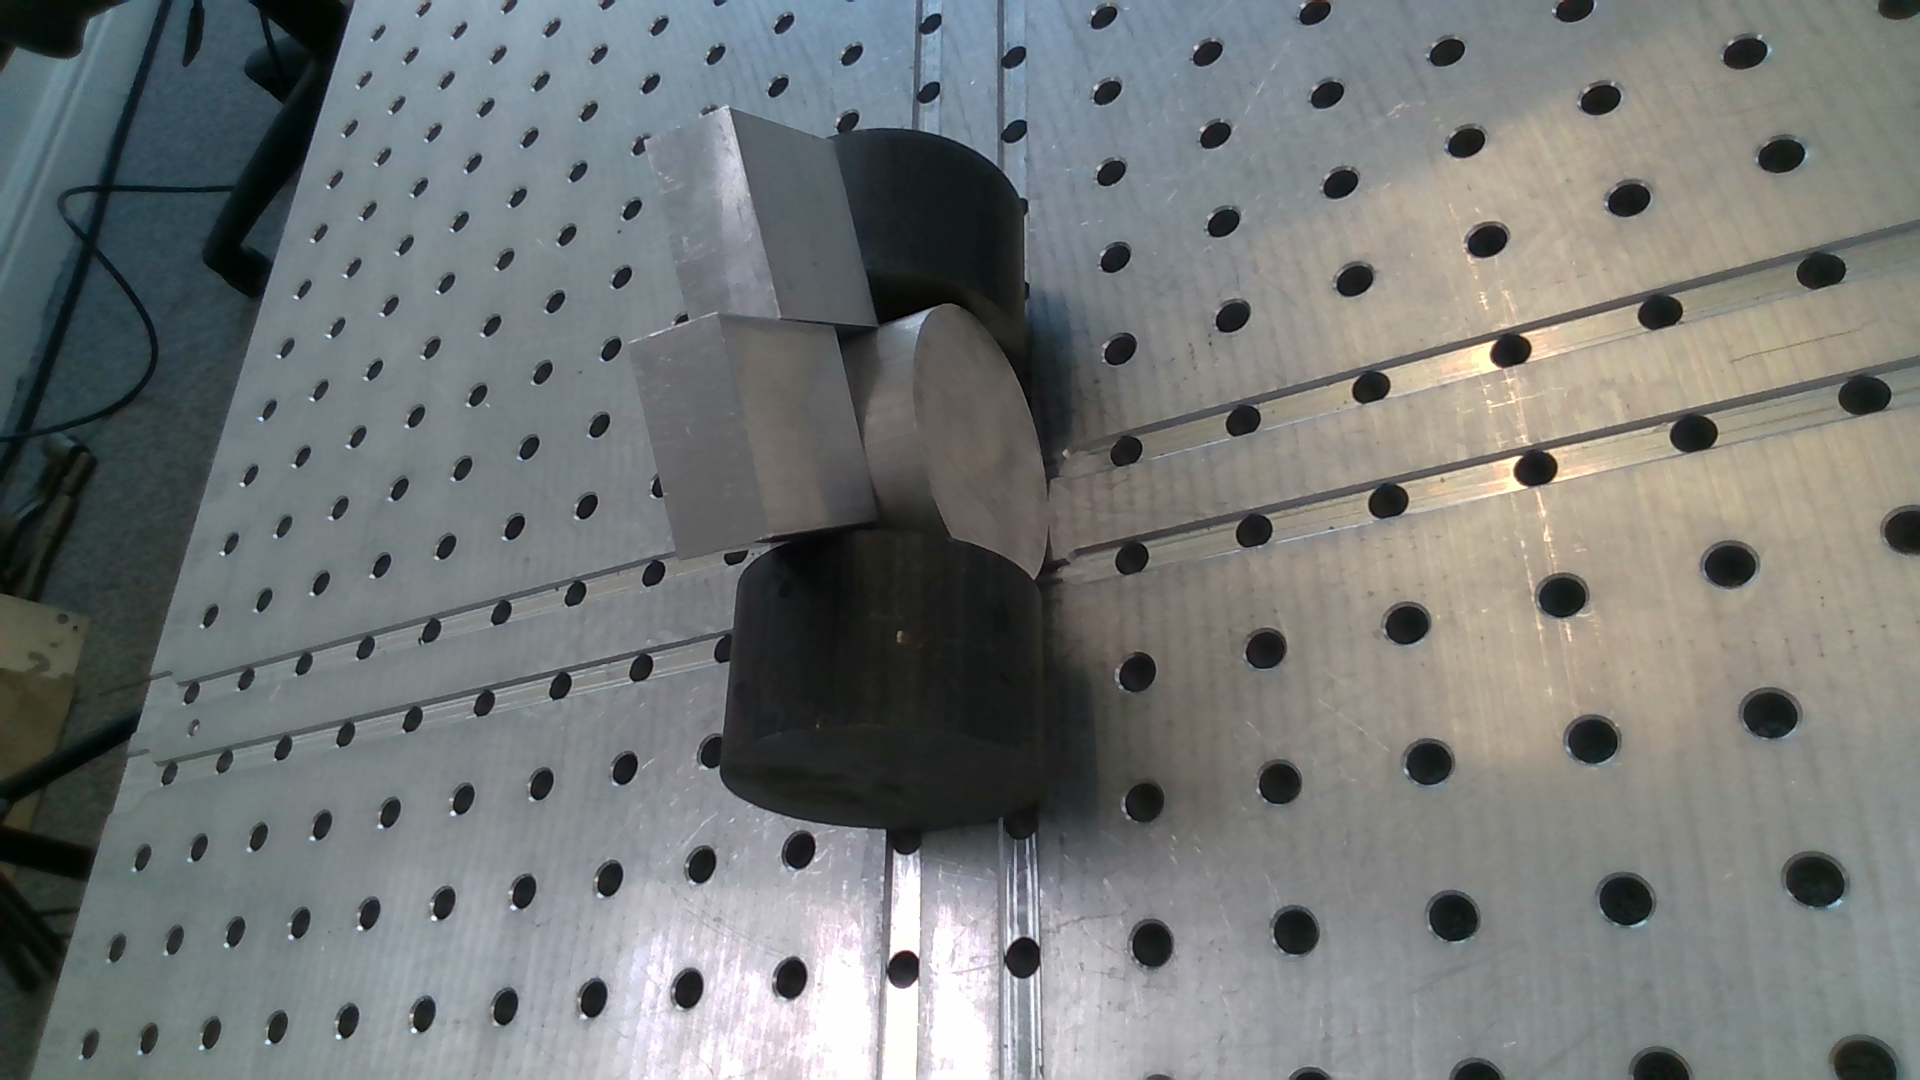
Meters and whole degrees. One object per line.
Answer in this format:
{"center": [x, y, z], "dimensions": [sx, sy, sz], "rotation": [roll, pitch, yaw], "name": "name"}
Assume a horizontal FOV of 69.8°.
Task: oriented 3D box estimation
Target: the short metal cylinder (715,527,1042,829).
{"center": [-0.019, 0.038, 0.351], "dimensions": [0.080, 0.080, 0.050], "rotation": [-14, 58, 25], "name": "short metal cylinder"}

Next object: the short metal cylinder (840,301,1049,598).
{"center": [-0.015, -0.020, 0.380], "dimensions": [0.050, 0.080, 0.080], "rotation": [-13, 59, 25], "name": "short metal cylinder"}

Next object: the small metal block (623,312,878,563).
{"center": [-0.048, -0.024, 0.323], "dimensions": [0.025, 0.050, 0.050], "rotation": [-14, 90, 25], "name": "small metal block"}

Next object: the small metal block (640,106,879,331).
{"center": [-0.049, -0.076, 0.345], "dimensions": [0.025, 0.050, 0.050], "rotation": [-14, 91, 25], "name": "small metal block"}

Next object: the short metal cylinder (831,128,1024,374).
{"center": [-0.021, -0.076, 0.413], "dimensions": [0.080, 0.080, 0.050], "rotation": [-13, 59, 25], "name": "short metal cylinder"}
